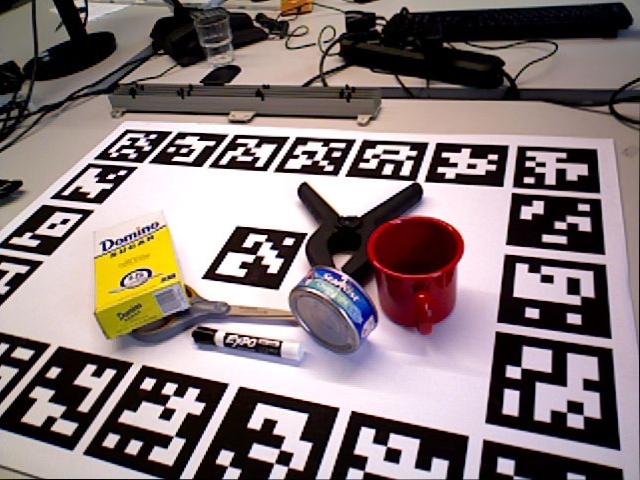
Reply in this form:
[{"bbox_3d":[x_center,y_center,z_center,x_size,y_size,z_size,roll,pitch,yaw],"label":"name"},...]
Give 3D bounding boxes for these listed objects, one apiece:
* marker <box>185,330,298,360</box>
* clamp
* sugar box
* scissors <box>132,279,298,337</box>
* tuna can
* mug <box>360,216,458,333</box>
[{"bbox_3d":[-0.082,0.106,0.551,0.121,0.020,0.019,3,44,17],"label":"marker"},{"bbox_3d":[0.037,-0.004,0.647,0.166,0.037,0.199,-2,43,11],"label":"clamp"},{"bbox_3d":[-0.210,0.035,0.632,0.092,0.046,0.175,-19,36,-9],"label":"sugar box"},{"bbox_3d":[-0.114,0.072,0.592,0.203,0.016,0.086,-1,39,10],"label":"scissors"},{"bbox_3d":[0.019,0.068,0.518,0.086,0.087,0.033,20,49,30],"label":"tuna can"},{"bbox_3d":[0.092,0.042,0.537,0.093,0.083,0.115,-13,38,-2],"label":"mug"}]
